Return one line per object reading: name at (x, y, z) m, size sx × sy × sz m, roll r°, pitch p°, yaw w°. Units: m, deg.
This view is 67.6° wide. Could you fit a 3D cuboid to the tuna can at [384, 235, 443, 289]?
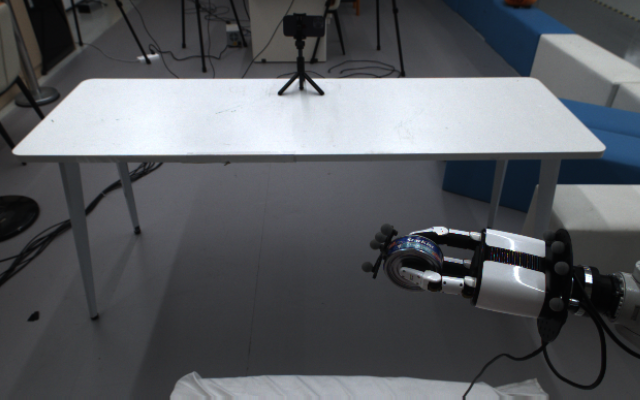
tuna can at (0.141, 0.091, 0.715) m, size 0.085 × 0.085 × 0.034 m, roll 8°, pitch 35°, yaw 9°
